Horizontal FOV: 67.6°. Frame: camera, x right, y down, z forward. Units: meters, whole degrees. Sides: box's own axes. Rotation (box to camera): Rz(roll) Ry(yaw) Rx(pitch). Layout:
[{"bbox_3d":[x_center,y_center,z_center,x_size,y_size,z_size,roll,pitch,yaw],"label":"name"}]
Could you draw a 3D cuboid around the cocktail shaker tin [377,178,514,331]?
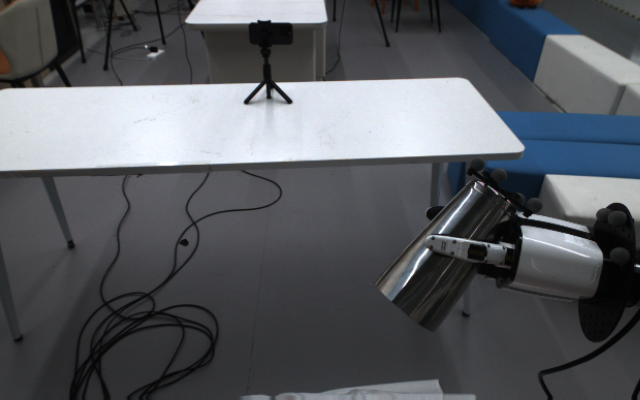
[{"bbox_3d":[0.156,0.058,0.580,0.170,0.093,0.093,-50,46,3],"label":"cocktail shaker tin"}]
